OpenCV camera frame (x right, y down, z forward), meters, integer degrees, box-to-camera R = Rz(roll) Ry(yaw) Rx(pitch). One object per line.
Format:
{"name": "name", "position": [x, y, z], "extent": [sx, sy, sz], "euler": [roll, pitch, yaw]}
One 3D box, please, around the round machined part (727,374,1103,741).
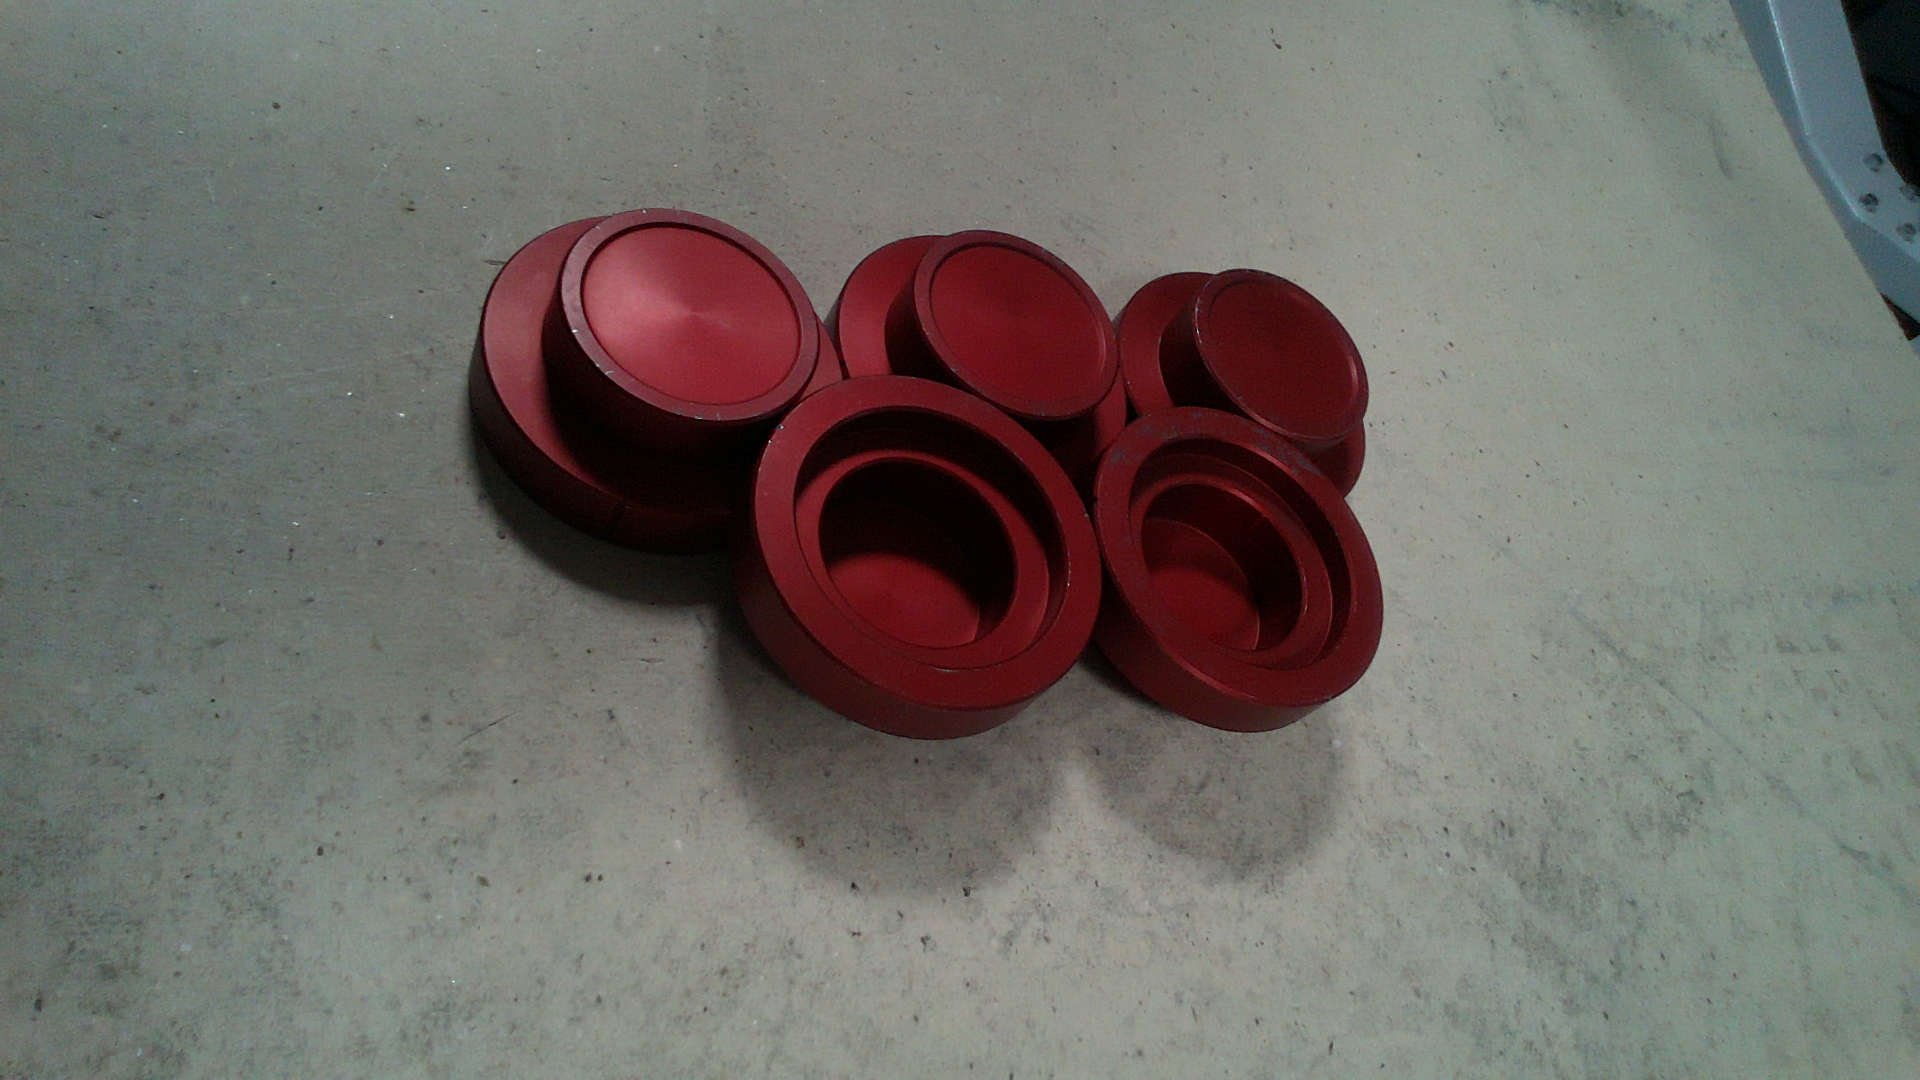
{"name": "round machined part", "position": [-0.015, 0.008, 0.366], "extent": [0.098, 0.042, 0.098], "euler": [14, 56, -21]}

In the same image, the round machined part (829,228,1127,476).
{"name": "round machined part", "position": [0.008, -0.055, 0.417], "extent": [0.098, 0.042, 0.098], "euler": [14, 56, -21]}

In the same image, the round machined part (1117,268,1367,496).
{"name": "round machined part", "position": [0.096, -0.051, 0.462], "extent": [0.098, 0.042, 0.098], "euler": [14, 56, -21]}

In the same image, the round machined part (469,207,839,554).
{"name": "round machined part", "position": [-0.077, -0.049, 0.368], "extent": [0.098, 0.042, 0.098], "euler": [14, 56, -21]}

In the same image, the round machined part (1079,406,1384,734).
{"name": "round machined part", "position": [0.074, 0.012, 0.411], "extent": [0.098, 0.042, 0.098], "euler": [14, 56, -21]}
